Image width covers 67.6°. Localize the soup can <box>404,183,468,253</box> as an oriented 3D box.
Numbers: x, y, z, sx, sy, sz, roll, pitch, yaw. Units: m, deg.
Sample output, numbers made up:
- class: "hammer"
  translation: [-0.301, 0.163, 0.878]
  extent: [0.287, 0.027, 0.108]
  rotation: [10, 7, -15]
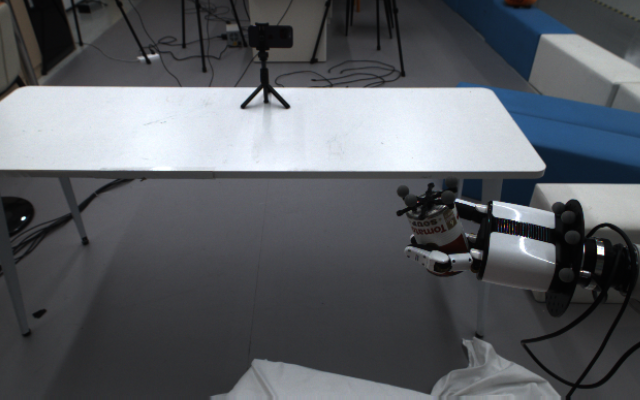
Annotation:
- class: "soup can"
  translation: [0.168, 0.045, 0.675]
  extent: [0.067, 0.101, 0.067]
  rotation: [-21, 24, 10]
